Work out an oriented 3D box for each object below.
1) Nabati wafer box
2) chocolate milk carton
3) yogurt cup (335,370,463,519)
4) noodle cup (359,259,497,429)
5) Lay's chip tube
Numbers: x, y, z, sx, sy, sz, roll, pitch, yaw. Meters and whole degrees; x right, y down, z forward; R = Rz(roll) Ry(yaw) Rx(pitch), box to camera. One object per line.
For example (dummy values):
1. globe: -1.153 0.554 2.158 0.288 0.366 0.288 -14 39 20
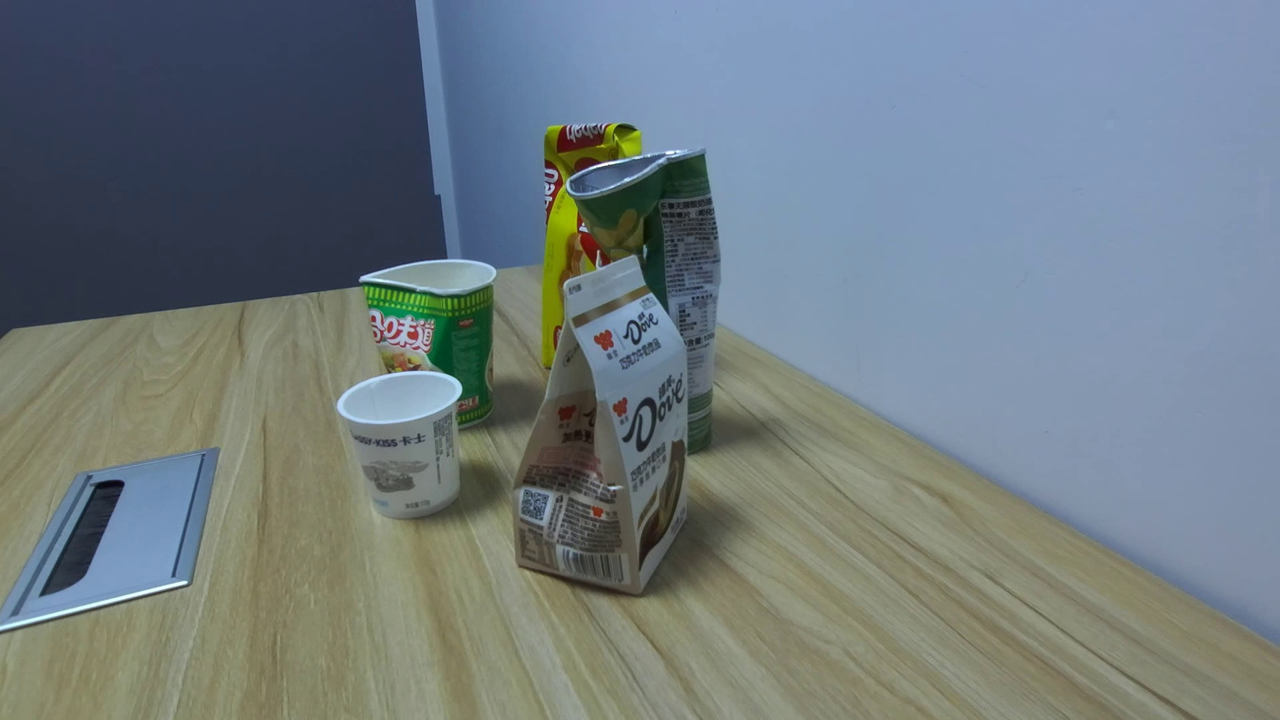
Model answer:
1. Nabati wafer box: -0.039 -0.084 0.574 0.113 0.205 0.043 12 23 34
2. chocolate milk carton: -0.021 0.029 0.358 0.073 0.155 0.084 7 24 21
3. yogurt cup: -0.139 0.051 0.423 0.072 0.068 0.072 -1 24 1
4. noodle cup: -0.144 -0.010 0.525 0.087 0.109 0.093 -18 26 -34
5. Lay's chip tube: 0.007 -0.033 0.459 0.071 0.199 0.078 -26 31 -31
